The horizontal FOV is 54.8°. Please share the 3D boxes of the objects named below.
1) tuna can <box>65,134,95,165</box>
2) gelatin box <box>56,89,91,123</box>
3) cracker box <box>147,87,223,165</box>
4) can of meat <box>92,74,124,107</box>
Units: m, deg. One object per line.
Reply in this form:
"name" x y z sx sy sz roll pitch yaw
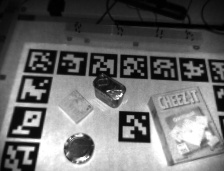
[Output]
"tuna can" -0.095 0.192 0.646 0.086 0.034 0.085 1 66 -2
"gelatin box" -0.126 0.067 0.714 0.089 0.030 0.074 41 64 13
"cracker box" 0.228 0.122 0.692 0.165 0.072 0.212 -12 63 -11
"can of meat" -0.013 0.020 0.724 0.101 0.084 0.058 28 64 12
